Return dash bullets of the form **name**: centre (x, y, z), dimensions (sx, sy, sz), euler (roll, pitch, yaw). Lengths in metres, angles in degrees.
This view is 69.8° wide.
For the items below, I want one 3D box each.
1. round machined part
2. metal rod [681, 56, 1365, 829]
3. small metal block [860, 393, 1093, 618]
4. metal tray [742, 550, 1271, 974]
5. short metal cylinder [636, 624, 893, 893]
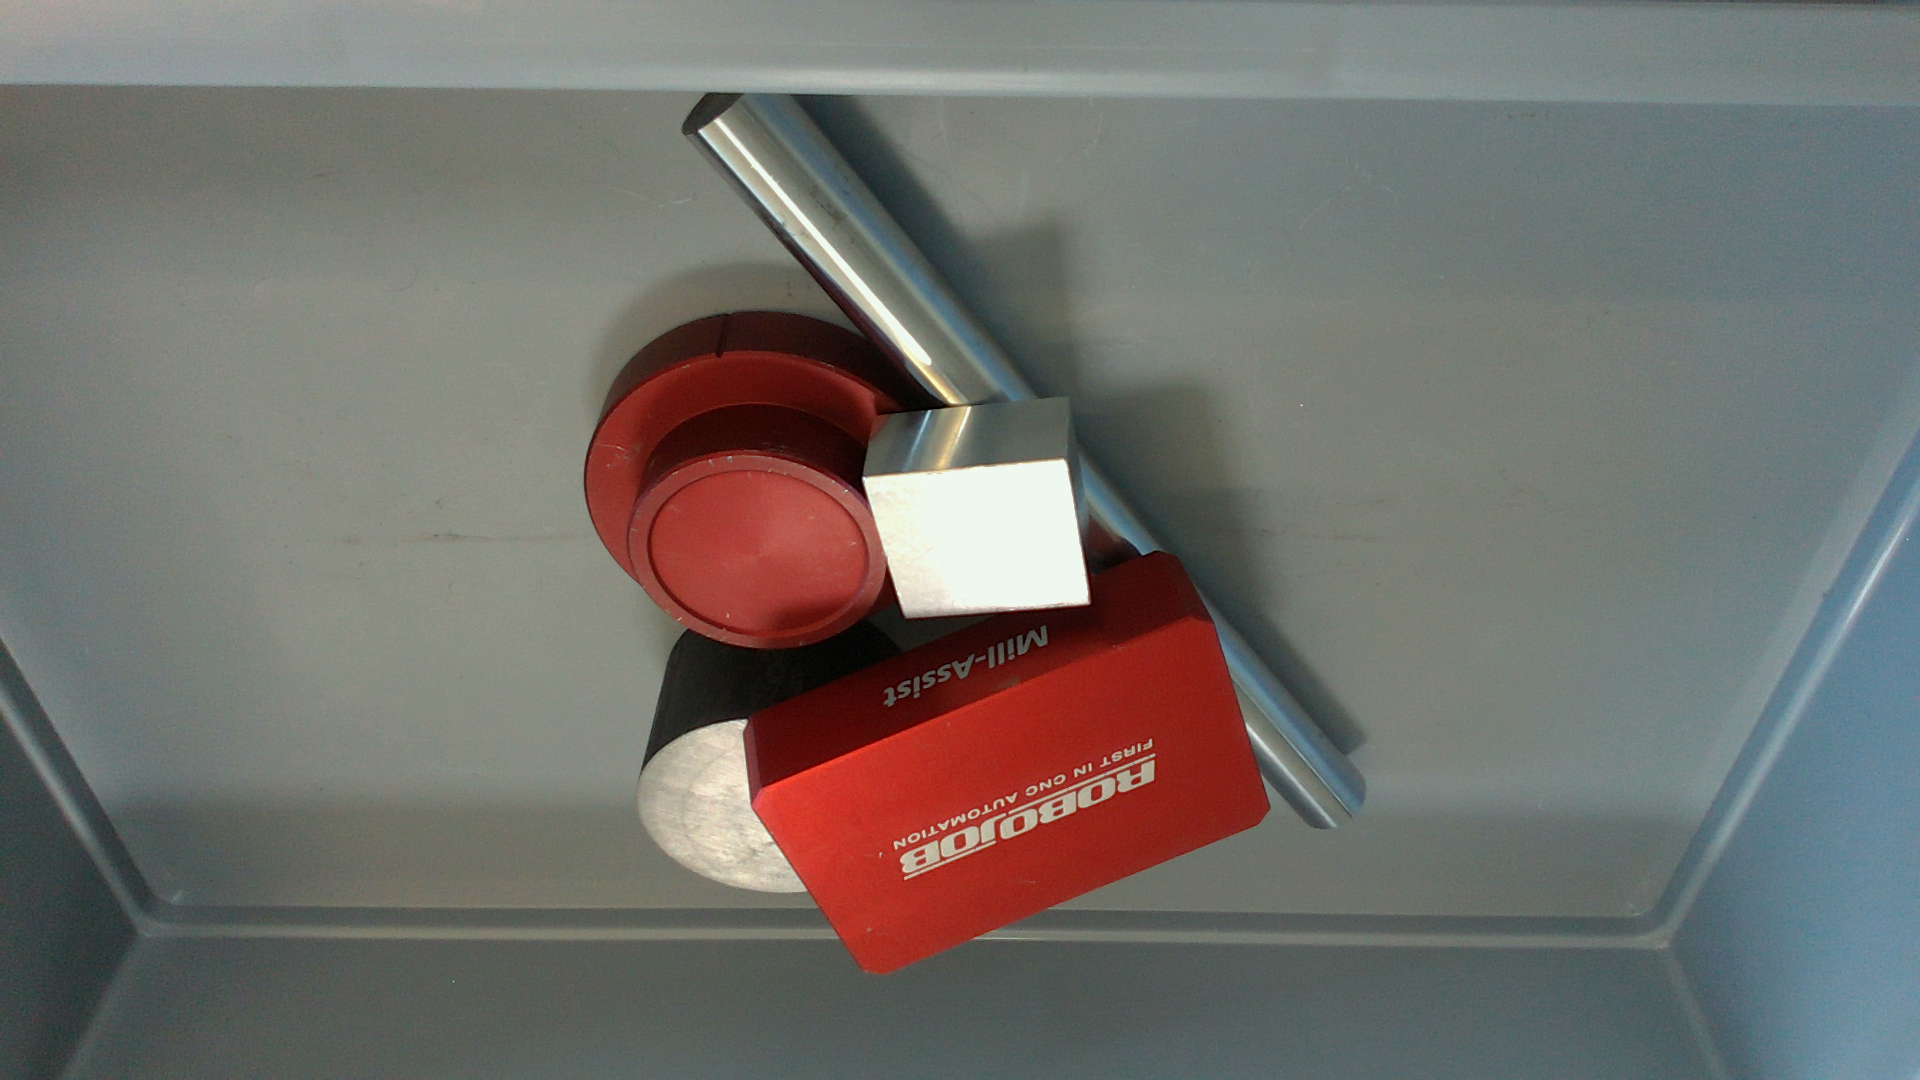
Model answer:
- **round machined part**: centre (-0.052, -0.009, 0.369), dimensions (0.098, 0.042, 0.098), euler (1, 130, 1)
- **metal rod**: centre (0.036, -0.006, 0.384), dimensions (0.025, 0.025, 0.301), euler (-29, 124, 22)
- **small metal block**: centre (0.006, -0.008, 0.352), dimensions (0.050, 0.025, 0.050), euler (-5, 133, 10)
- **metal tray**: centre (0.015, 0.066, 0.391), dimensions (0.130, 0.030, 0.090), euler (-22, 128, 2)
- **short metal cylinder**: centre (-0.056, 0.065, 0.426), dimensions (0.080, 0.050, 0.080), euler (0, 130, 0)
